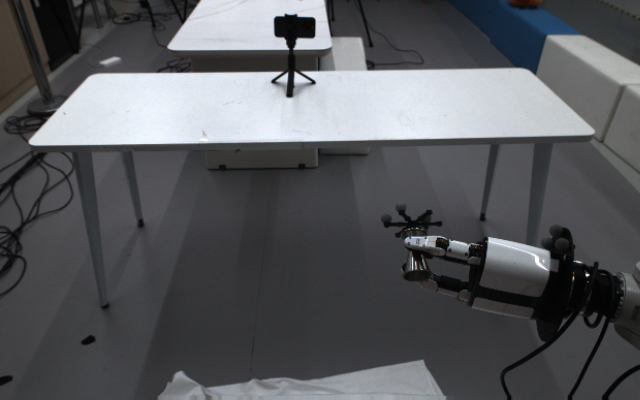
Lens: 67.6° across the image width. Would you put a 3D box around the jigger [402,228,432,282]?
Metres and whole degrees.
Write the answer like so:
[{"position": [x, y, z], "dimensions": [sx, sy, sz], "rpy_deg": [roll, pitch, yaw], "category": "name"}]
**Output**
[{"position": [0.141, 0.077, 0.709], "dimensions": [0.043, 0.043, 0.071], "rpy_deg": [2, 59, 0], "category": "jigger"}]
